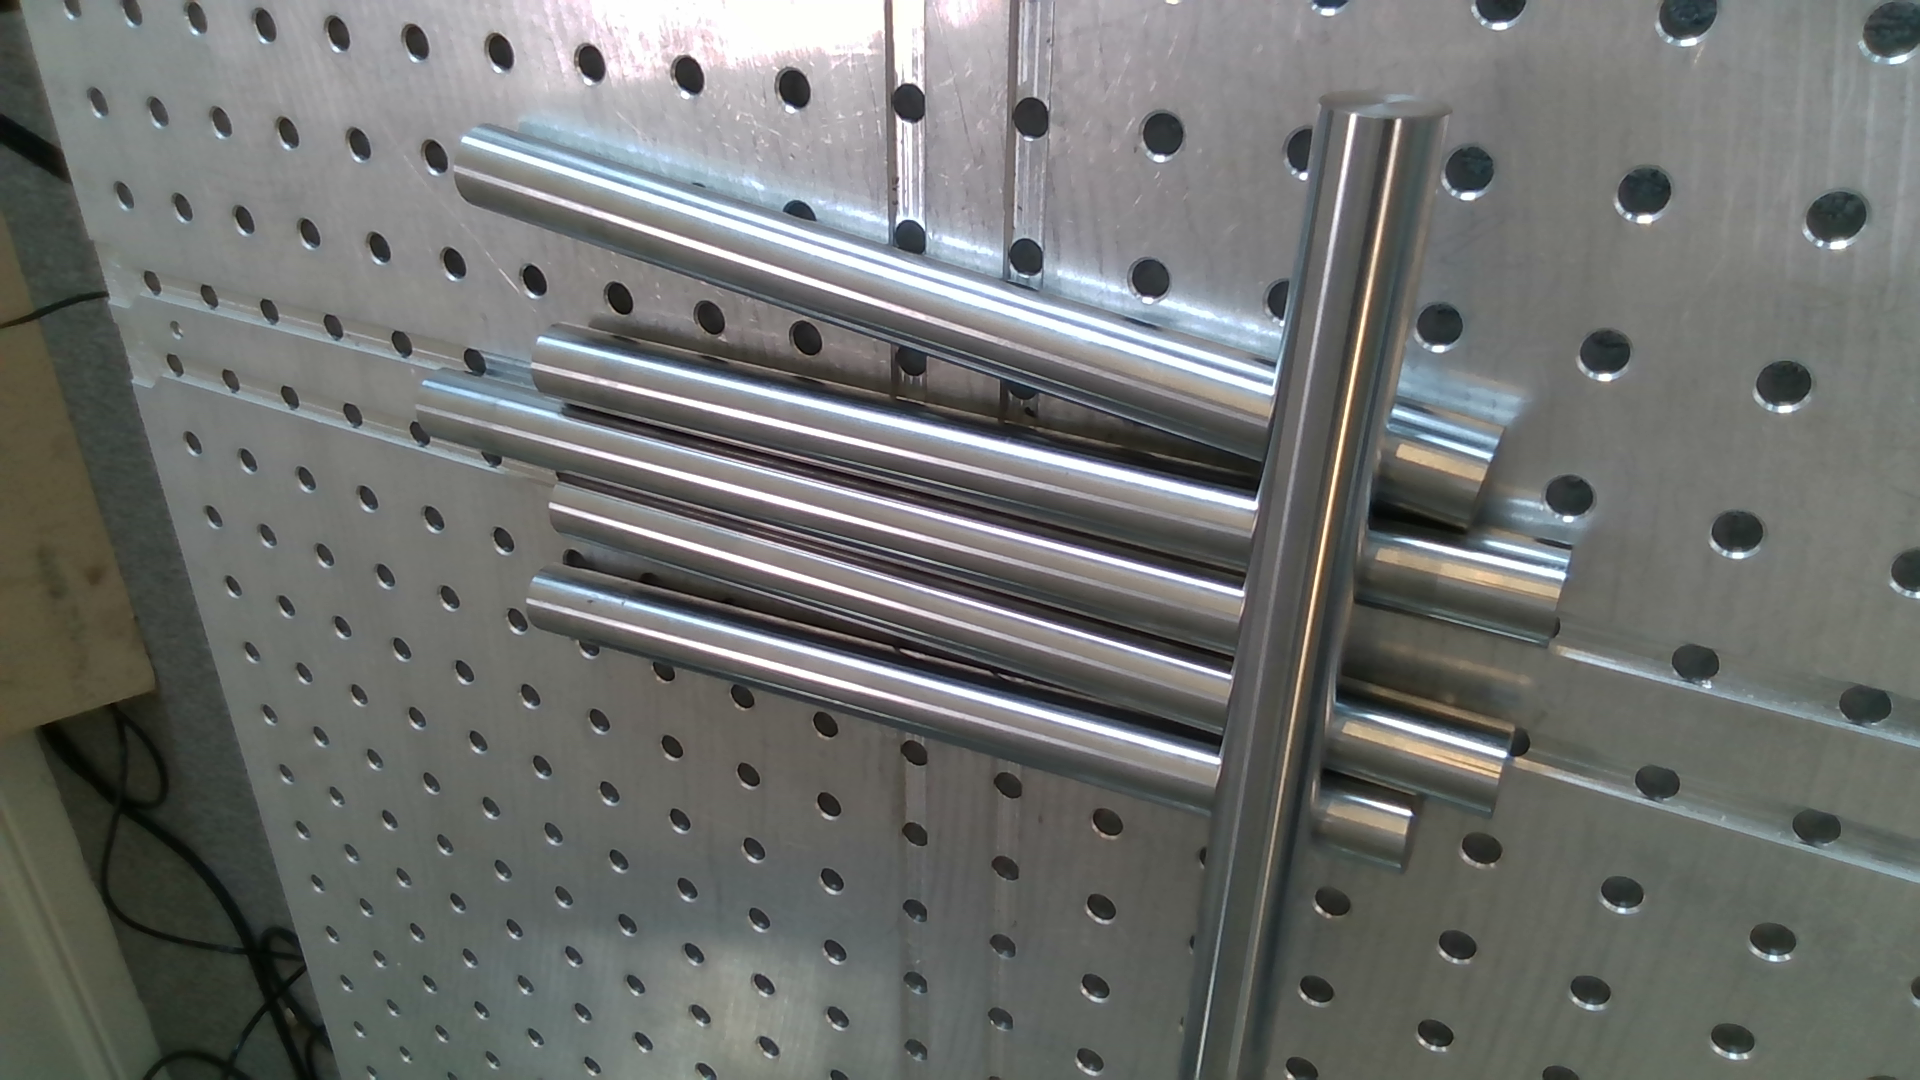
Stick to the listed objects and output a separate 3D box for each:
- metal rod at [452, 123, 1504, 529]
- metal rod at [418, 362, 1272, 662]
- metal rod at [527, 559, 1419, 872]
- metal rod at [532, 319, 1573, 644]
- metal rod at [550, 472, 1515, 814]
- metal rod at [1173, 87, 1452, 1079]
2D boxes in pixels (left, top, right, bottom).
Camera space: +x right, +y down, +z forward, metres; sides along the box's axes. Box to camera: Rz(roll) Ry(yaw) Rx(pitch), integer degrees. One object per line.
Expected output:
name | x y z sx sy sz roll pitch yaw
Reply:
metal rod | -0.013 -0.064 0.363 0.300 0.025 0.025 21 124 21
metal rod | -0.045 -0.014 0.411 0.300 0.025 0.025 15 122 25
metal rod | -0.013 0.047 0.426 0.300 0.025 0.025 12 121 26
metal rod | 0.005 -0.023 0.376 0.300 0.025 0.025 15 122 24
metal rod | 0.002 0.021 0.403 0.300 0.025 0.025 15 122 24
metal rod | 0.077 0.047 0.337 0.025 0.025 0.301 16 123 24
